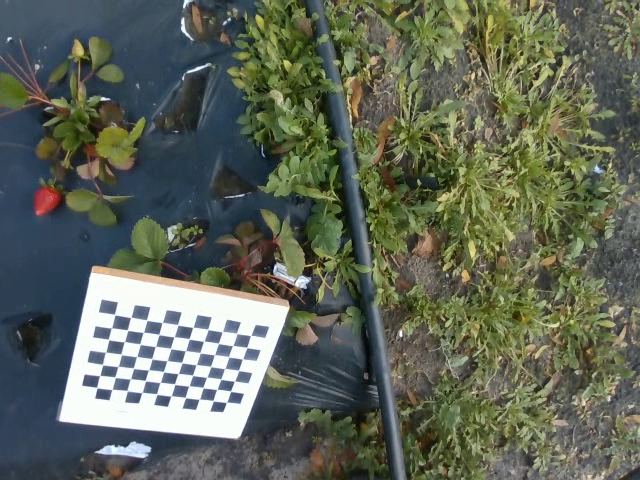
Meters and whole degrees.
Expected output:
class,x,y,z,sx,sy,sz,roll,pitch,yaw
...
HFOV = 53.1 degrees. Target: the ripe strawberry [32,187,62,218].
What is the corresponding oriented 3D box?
class,x,y,z,sx,sy,sz,roll,pitch,yaw
ripe strawberry,-0.389,-0.050,0.891,0.041,0.052,0.044,-11,-35,45
